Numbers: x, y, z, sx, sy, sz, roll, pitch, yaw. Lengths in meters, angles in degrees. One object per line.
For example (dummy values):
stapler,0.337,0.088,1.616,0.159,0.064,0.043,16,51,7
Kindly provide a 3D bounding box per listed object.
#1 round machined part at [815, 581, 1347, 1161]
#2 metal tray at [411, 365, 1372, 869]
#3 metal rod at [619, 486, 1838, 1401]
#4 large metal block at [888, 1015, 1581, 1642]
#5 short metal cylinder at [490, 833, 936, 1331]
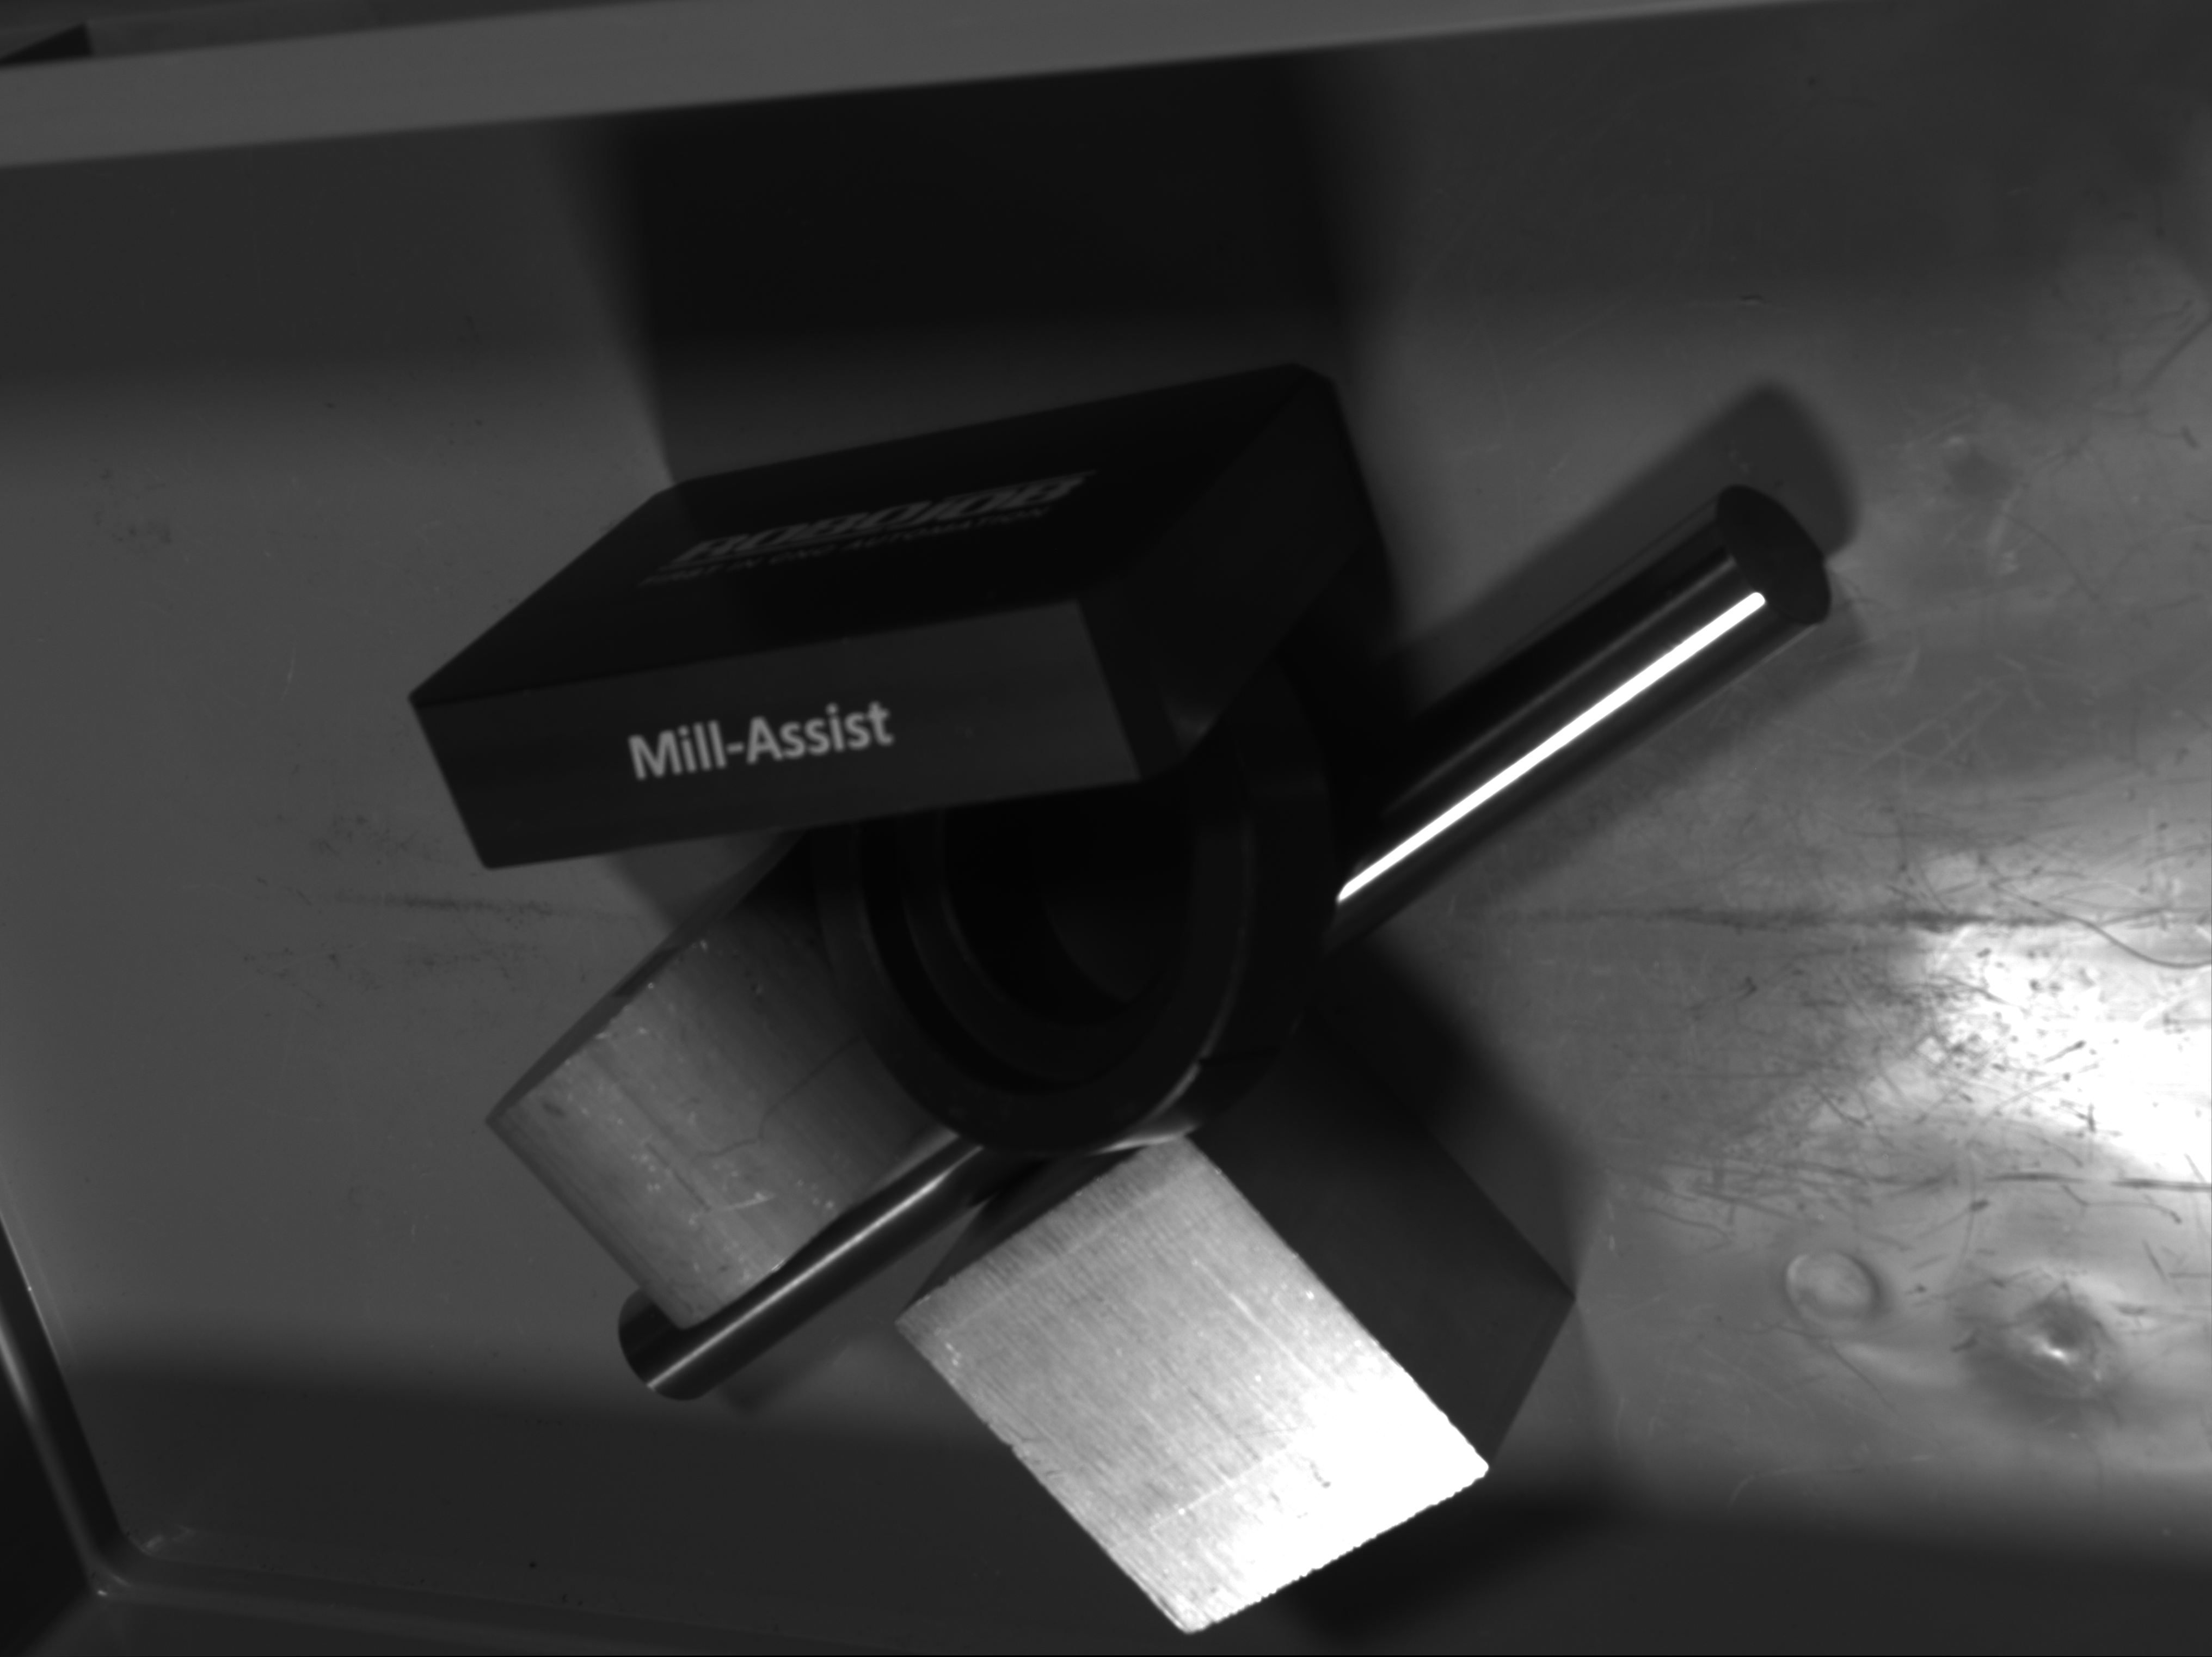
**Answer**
round machined part,0.001,0.003,0.603,0.098,0.042,0.098,3,95,41
metal tray,-0.034,-0.034,0.584,0.130,0.090,0.030,-7,115,29
metal rod,0.007,0.031,0.645,0.025,0.025,0.299,48,128,-6
large metal block,0.023,0.086,0.653,0.080,0.050,0.080,48,128,-6
short metal cylinder,-0.063,0.043,0.652,0.050,0.080,0.080,48,128,-6
